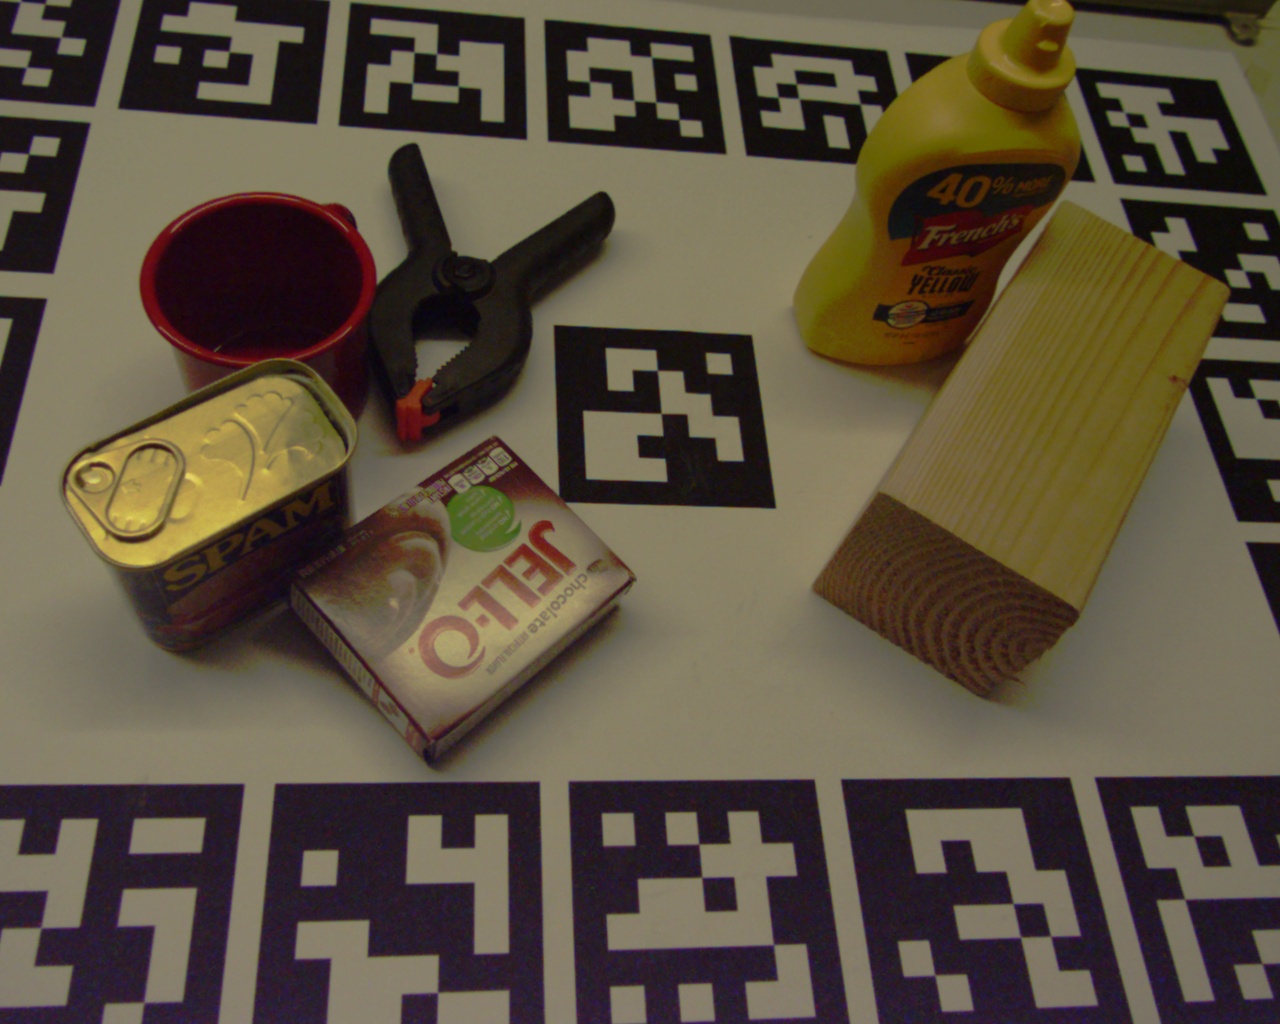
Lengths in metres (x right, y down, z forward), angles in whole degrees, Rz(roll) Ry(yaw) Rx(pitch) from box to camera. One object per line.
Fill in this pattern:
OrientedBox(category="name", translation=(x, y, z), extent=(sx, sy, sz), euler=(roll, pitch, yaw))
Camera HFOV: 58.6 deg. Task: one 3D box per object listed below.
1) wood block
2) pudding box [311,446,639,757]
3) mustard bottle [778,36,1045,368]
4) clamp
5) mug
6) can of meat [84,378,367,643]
OrientedBox(category="wood block", translation=(0.174, -0.027, 0.553), extent=(0.090, 0.091, 0.205), euler=(33, 59, 10))
OrientedBox(category="pudding box", translation=(-0.072, 0.037, 0.501), extent=(0.113, 0.039, 0.090), euler=(-37, 74, -27))
OrientedBox(category="mustard bottle", translation=(0.137, -0.145, 0.548), extent=(0.096, 0.191, 0.059), euler=(-3, 63, -12))
OrientedBox(category="clamp", translation=(-0.088, -0.110, 0.586), extent=(0.122, 0.036, 0.165), euler=(19, 62, -1))
OrientedBox(category="mug", translation=(-0.165, -0.079, 0.550), extent=(0.093, 0.081, 0.117), euler=(21, 61, 1))
OrientedBox(category="can of meat", translation=(-0.165, 0.003, 0.472), extent=(0.101, 0.084, 0.058), euler=(-28, 71, -23))
